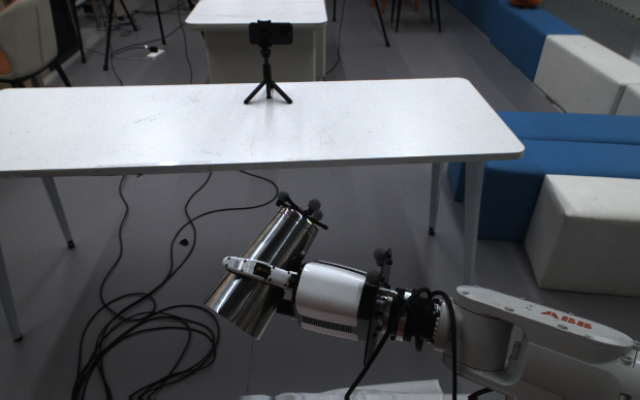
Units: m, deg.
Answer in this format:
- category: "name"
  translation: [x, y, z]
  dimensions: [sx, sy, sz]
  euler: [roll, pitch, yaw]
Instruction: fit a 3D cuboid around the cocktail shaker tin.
- category: "cocktail shaker tin"
  translation: [-0.076, 0.092, 0.674]
  dimensions: [0.093, 0.093, 0.170]
  euler: [24, 69, 28]
